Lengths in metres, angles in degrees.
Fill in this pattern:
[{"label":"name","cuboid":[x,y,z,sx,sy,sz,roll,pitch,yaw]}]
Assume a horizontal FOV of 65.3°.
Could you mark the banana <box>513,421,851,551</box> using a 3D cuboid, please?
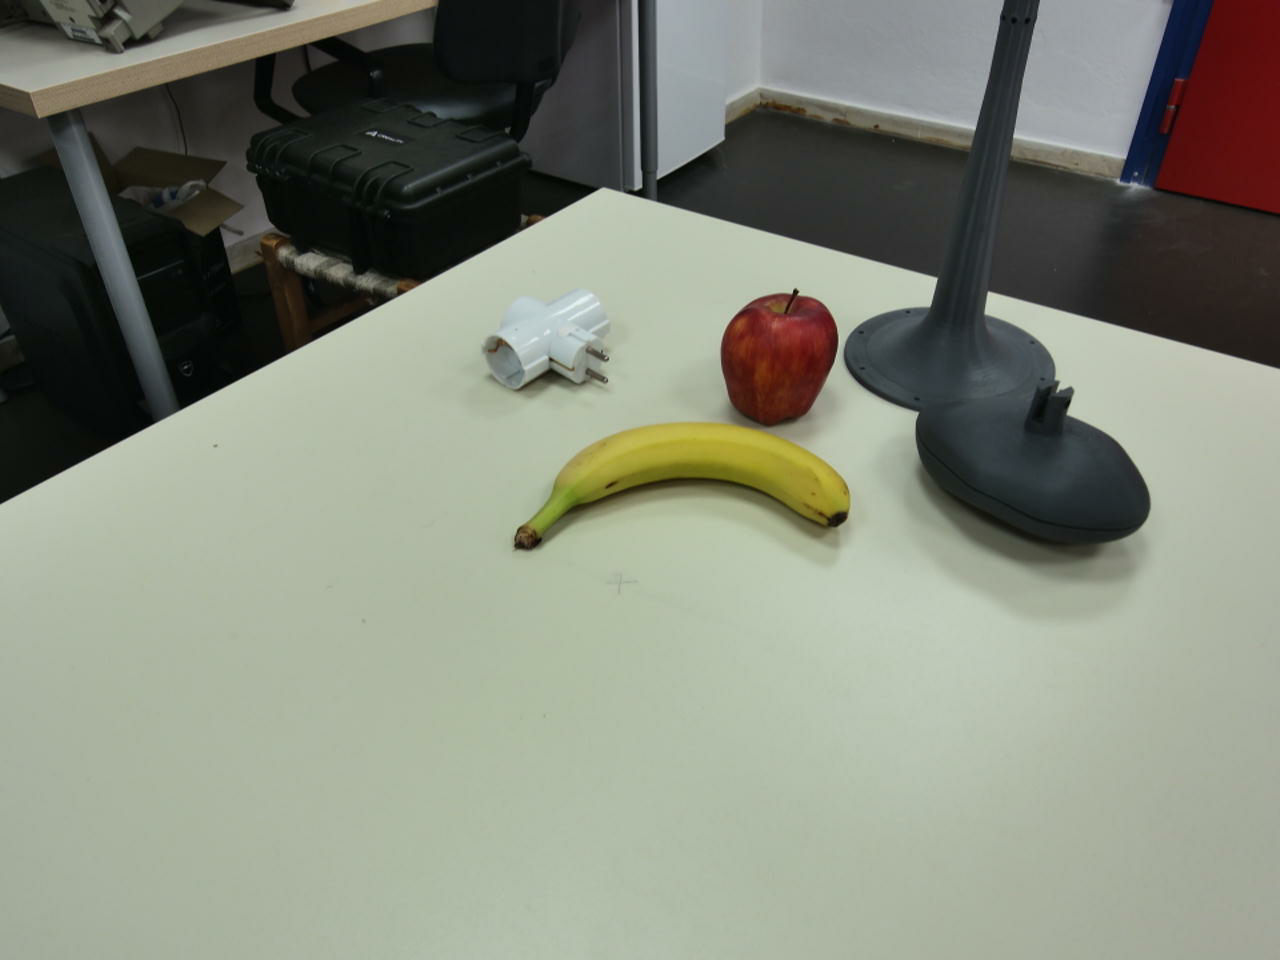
[{"label":"banana","cuboid":[0.024,-0.002,0.611,0.196,0.041,0.094,0,37,1]}]
